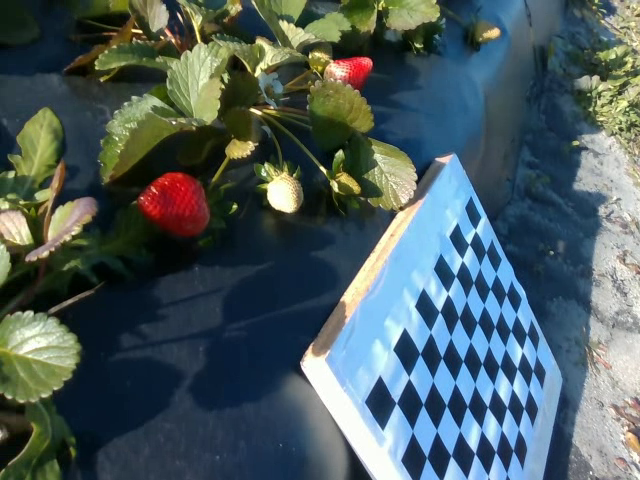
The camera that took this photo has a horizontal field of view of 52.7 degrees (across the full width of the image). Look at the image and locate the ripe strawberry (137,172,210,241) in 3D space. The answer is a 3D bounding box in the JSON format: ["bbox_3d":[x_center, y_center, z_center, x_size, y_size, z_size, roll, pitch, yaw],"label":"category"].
[{"bbox_3d":[-0.079,-0.019,0.329,0.036,0.043,0.054,-14,-3,29],"label":"ripe strawberry"}]

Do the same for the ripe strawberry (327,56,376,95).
[{"bbox_3d":[0.022,-0.124,0.479,0.045,0.037,0.042,-34,33,14],"label":"ripe strawberry"}]
